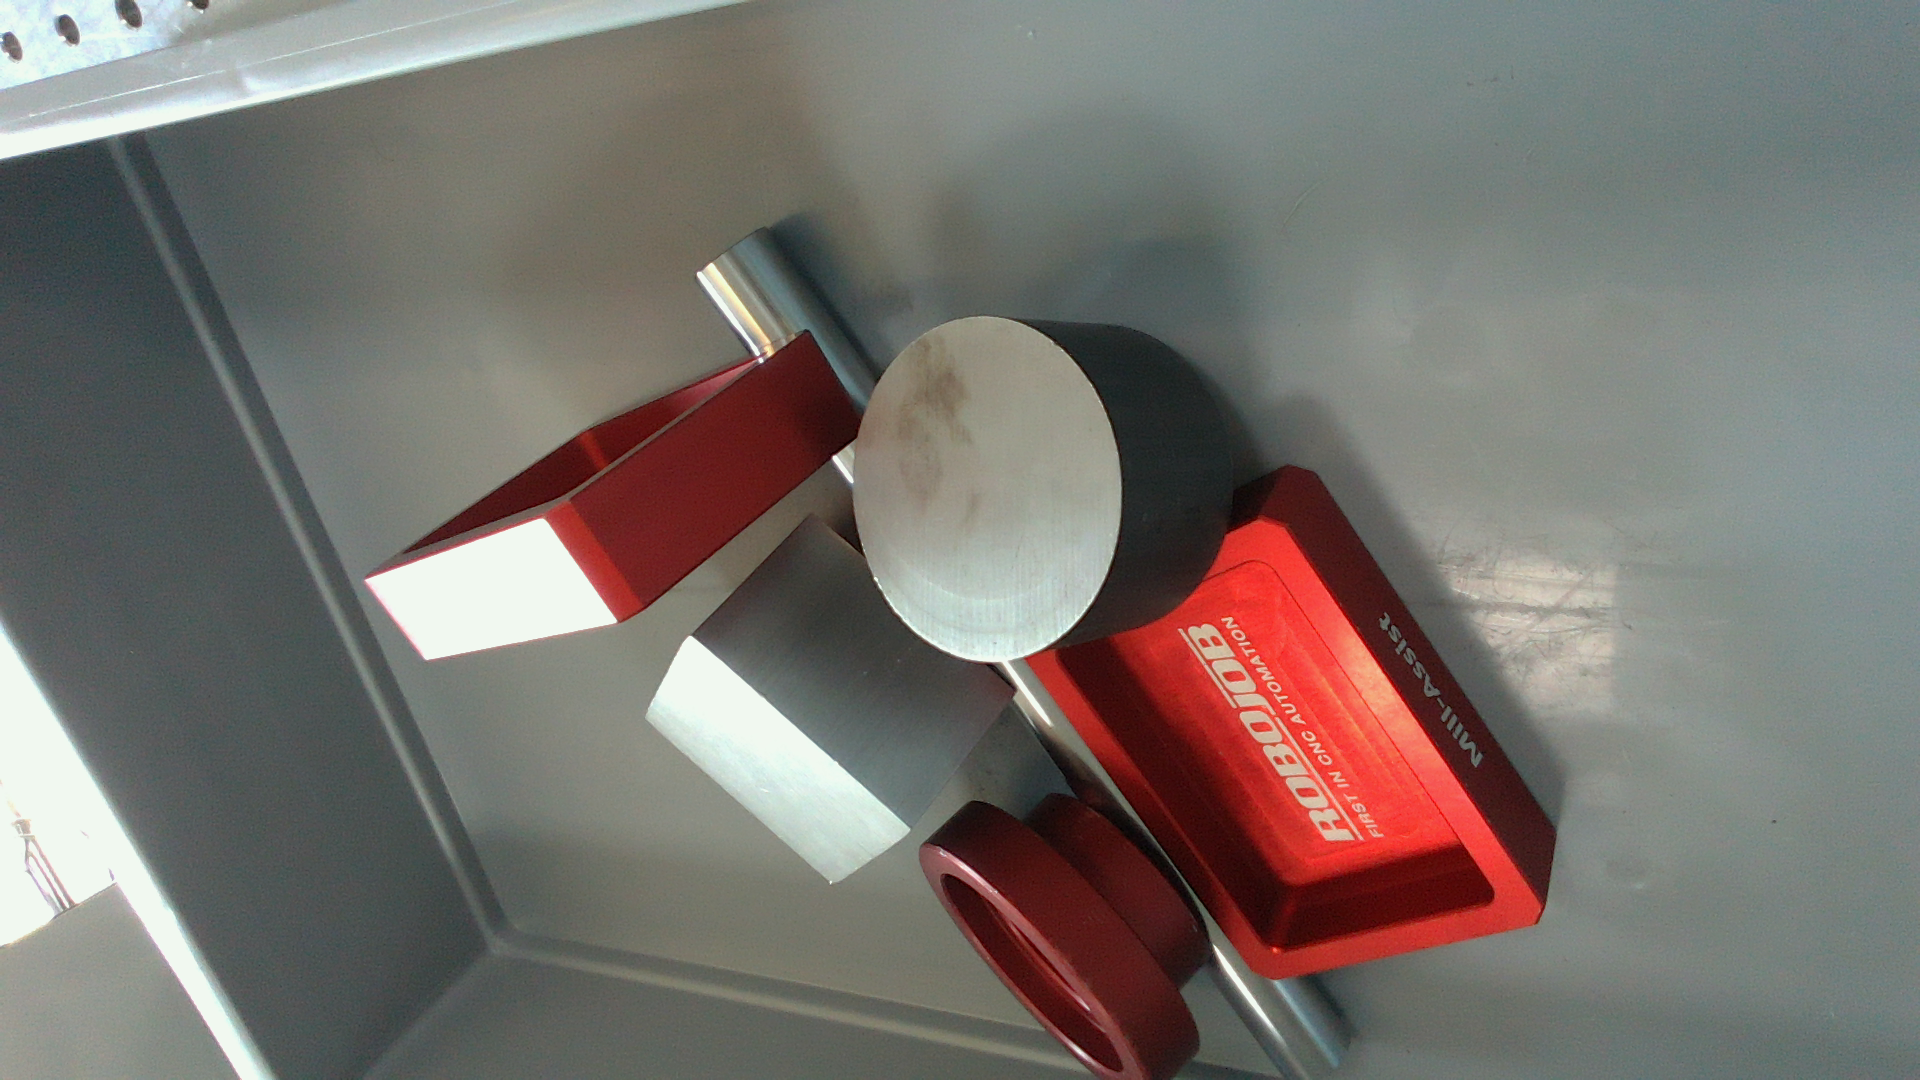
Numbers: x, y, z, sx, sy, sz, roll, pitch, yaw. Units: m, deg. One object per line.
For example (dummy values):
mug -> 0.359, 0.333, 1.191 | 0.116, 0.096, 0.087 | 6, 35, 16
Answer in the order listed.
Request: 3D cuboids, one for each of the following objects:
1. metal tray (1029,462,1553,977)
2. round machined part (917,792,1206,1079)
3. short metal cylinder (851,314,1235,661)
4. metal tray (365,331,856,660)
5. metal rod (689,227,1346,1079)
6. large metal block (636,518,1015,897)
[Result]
metal tray -> 0.087, 0.054, 0.375 | 0.090, 0.030, 0.130 | -28, 103, 37
round machined part -> 0.035, 0.115, 0.414 | 0.098, 0.042, 0.098 | 43, 159, 21
short metal cylinder -> 0.020, -0.014, 0.337 | 0.080, 0.050, 0.080 | 5, 97, 39
metal tray -> -0.098, -0.010, 0.377 | 0.129, 0.090, 0.030 | -12, 115, 49
metal rod -> 0.023, 0.041, 0.404 | 0.025, 0.025, 0.300 | -28, 103, 37
large metal block -> -0.043, 0.052, 0.407 | 0.080, 0.050, 0.080 | 41, 147, 0
